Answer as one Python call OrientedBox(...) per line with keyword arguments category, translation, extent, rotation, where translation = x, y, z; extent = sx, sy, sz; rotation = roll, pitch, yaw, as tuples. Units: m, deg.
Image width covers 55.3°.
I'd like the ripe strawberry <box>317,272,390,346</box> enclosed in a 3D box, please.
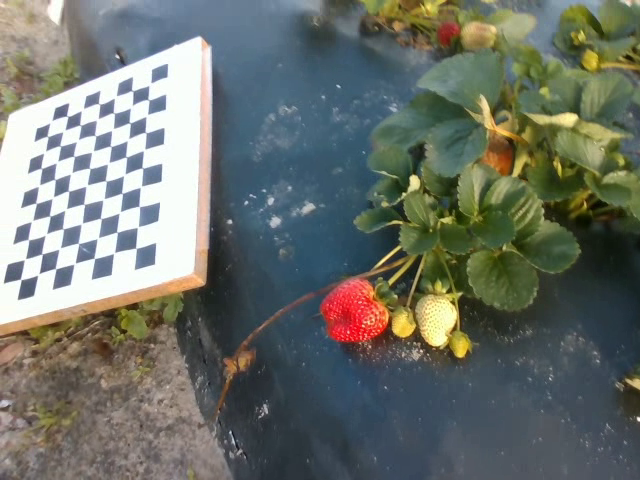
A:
OrientedBox(category="ripe strawberry", translation=(0.022, 0.053, 0.452), extent=(0.050, 0.048, 0.035), rotation=(-29, -36, 1))
